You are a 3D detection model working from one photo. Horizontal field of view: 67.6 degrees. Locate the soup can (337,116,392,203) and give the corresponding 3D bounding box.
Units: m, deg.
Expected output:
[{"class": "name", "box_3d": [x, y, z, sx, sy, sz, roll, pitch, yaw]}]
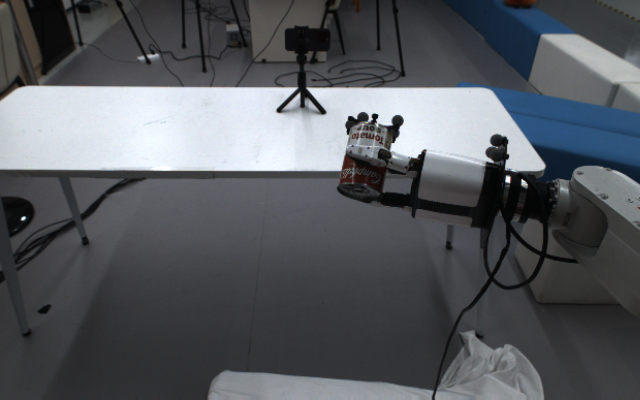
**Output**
[{"class": "soup can", "box_3d": [0.069, -0.058, 0.723, 0.067, 0.067, 0.101, 9, 72, 10]}]
